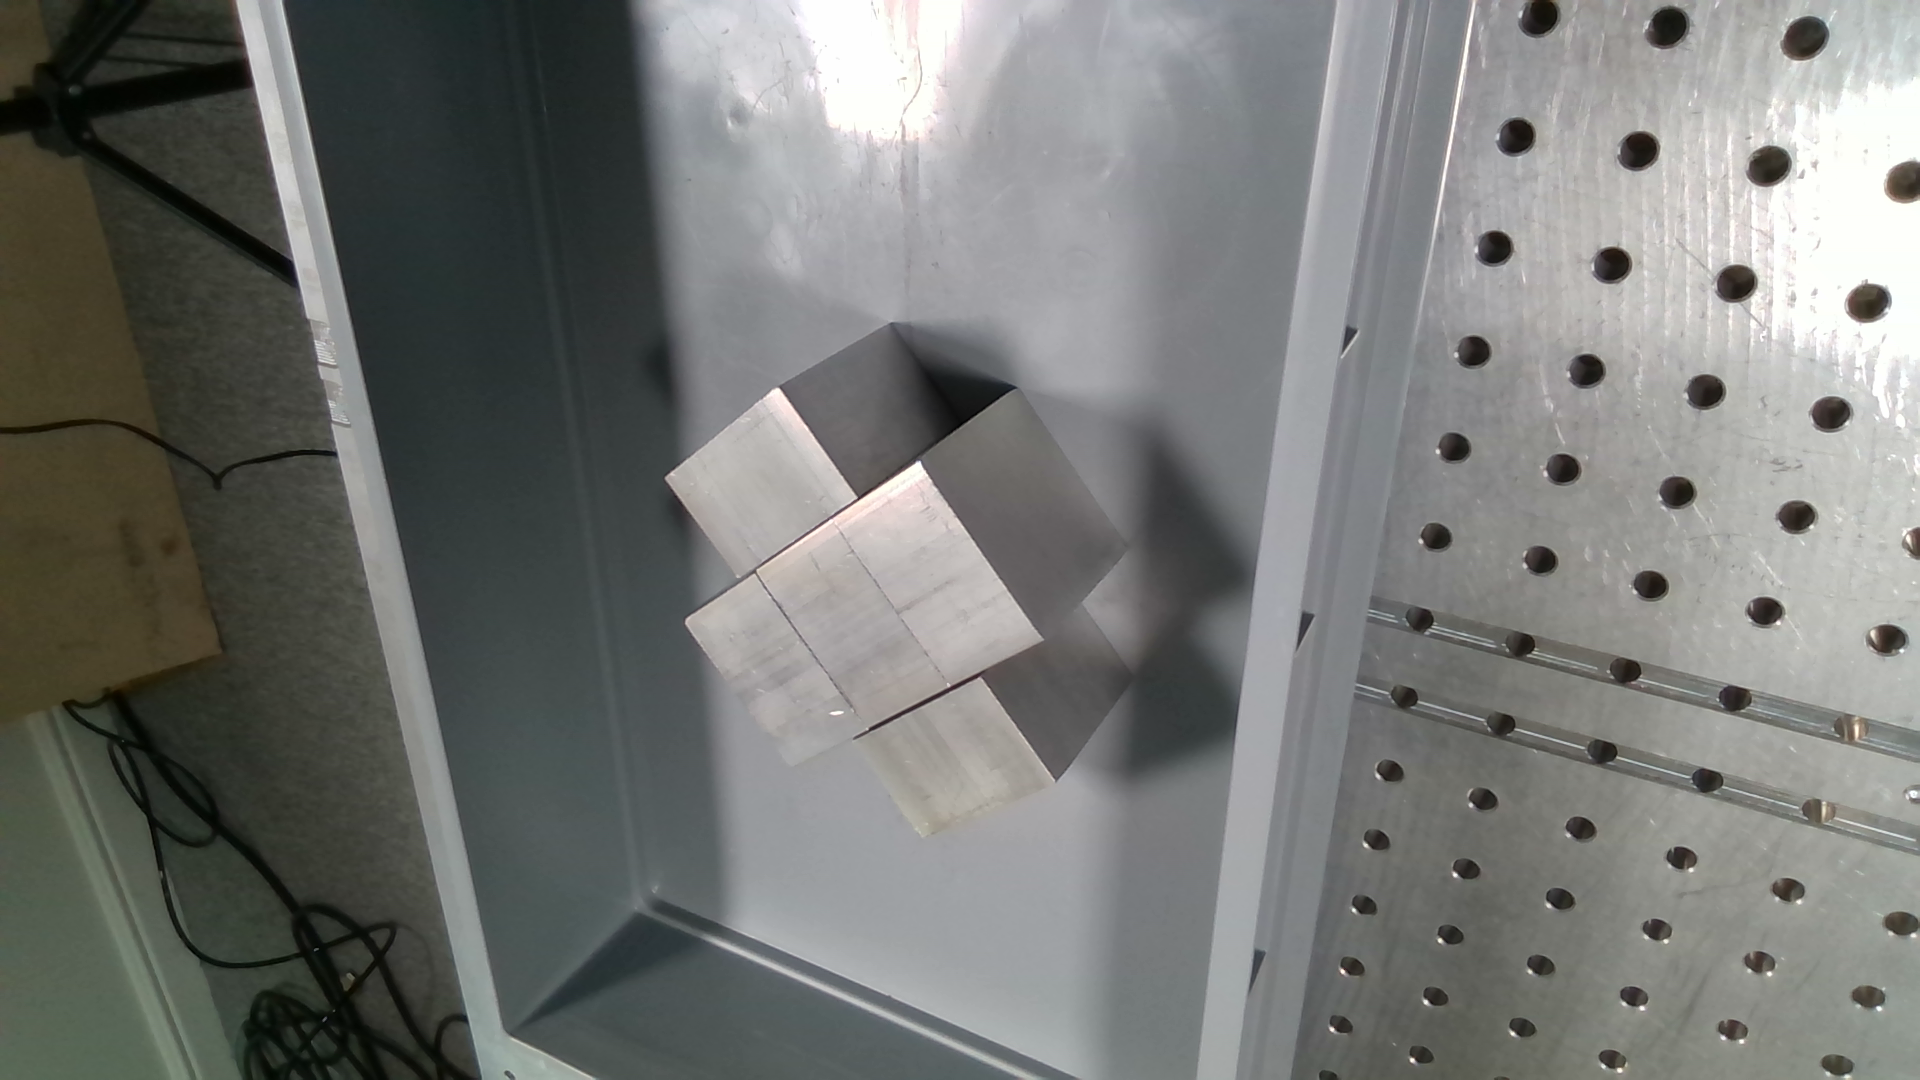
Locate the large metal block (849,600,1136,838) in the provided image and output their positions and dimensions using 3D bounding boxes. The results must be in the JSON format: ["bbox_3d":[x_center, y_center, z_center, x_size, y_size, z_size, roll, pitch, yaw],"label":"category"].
[{"bbox_3d":[0.015,0.070,0.574,0.080,0.080,0.050,-31,96,39],"label":"large metal block"}]

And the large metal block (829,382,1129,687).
[{"bbox_3d":[0.010,-0.003,0.535,0.050,0.080,0.080,-31,97,39],"label":"large metal block"}]

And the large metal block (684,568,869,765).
[{"bbox_3d":[-0.058,0.037,0.600,0.050,0.080,0.080,-31,97,39],"label":"large metal block"}]

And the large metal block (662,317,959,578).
[{"bbox_3d":[-0.059,-0.038,0.560,0.080,0.080,0.050,-31,96,39],"label":"large metal block"}]

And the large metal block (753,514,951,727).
[{"bbox_3d":[-0.024,0.016,0.568,0.050,0.080,0.080,-31,97,39],"label":"large metal block"}]
